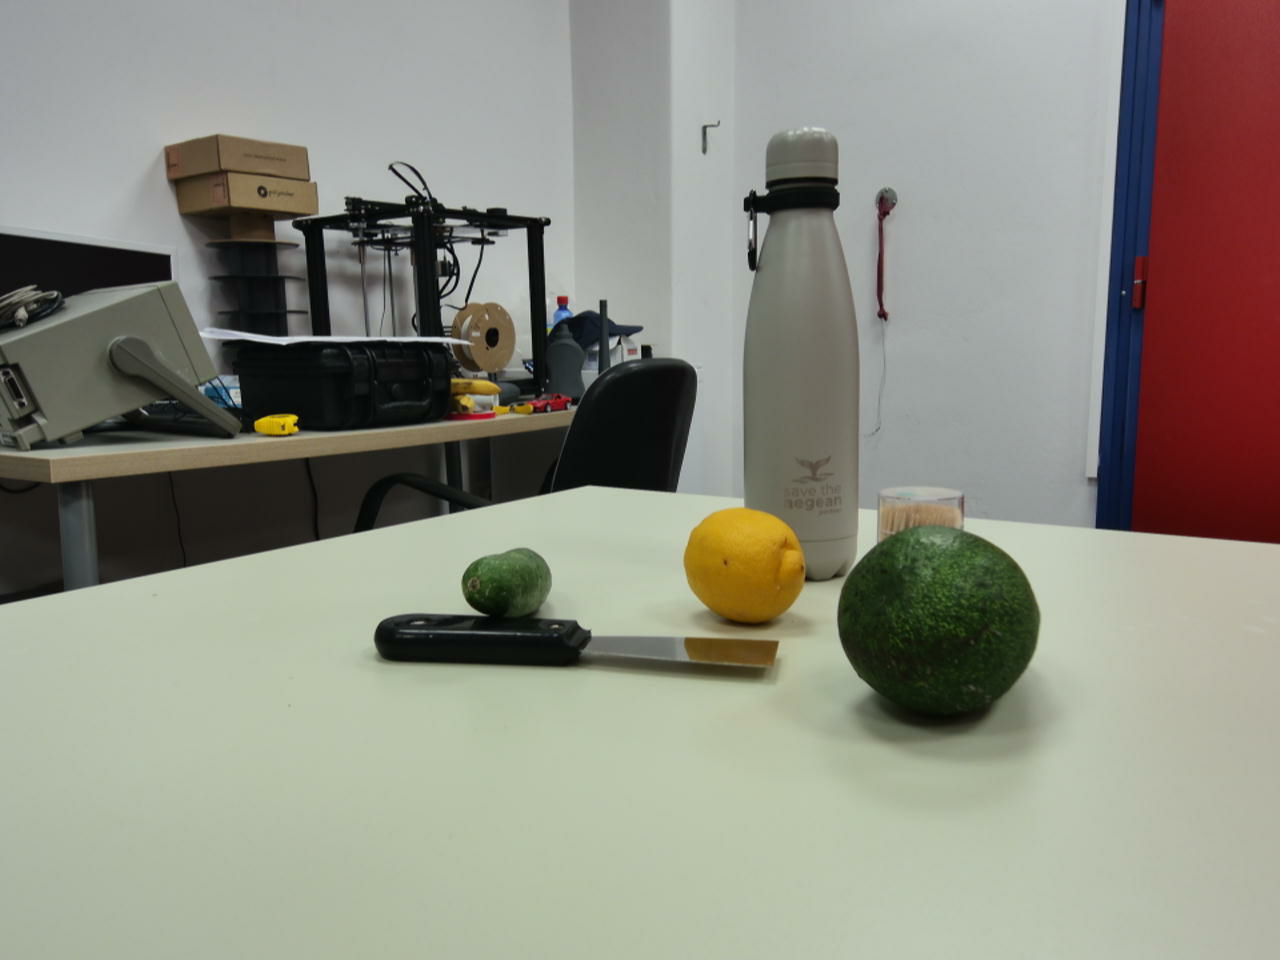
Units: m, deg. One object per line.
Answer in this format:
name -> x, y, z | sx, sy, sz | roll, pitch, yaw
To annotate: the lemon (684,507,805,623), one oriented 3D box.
lemon -> 0.055, 0.045, 0.533 | 0.061, 0.059, 0.067 | -1, 6, -12
